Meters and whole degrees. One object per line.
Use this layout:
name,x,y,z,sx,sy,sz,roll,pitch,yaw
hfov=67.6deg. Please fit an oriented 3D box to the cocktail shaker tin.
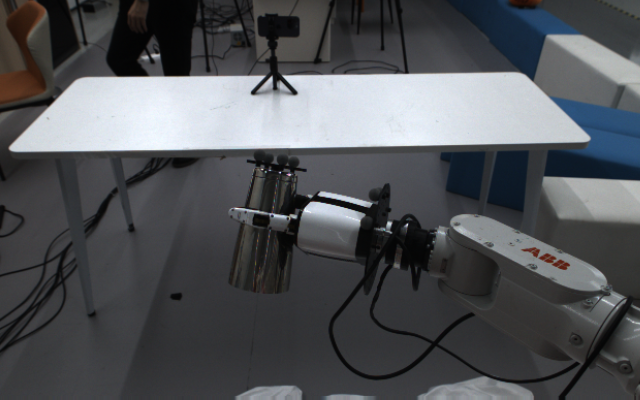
cocktail shaker tin,-0.077,0.042,0.711,0.093,0.170,0.093,9,3,0
